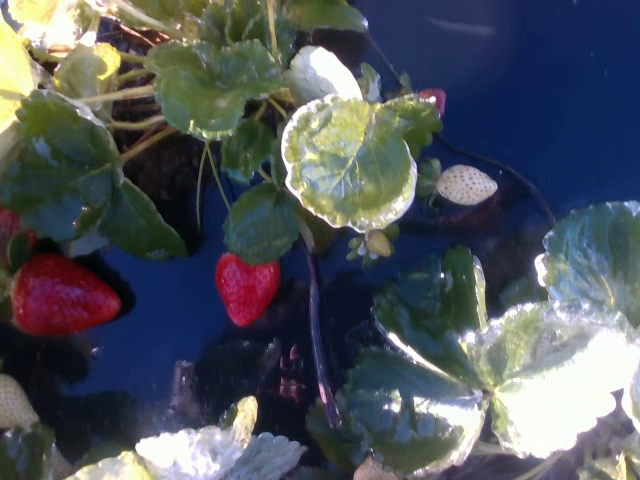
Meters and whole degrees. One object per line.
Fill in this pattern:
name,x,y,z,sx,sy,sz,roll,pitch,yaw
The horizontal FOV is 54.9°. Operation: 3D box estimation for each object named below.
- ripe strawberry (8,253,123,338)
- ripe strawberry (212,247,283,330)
ripe strawberry,-0.130,0.034,0.314,0.056,0.044,0.040,15,11,-11
ripe strawberry,-0.036,0.025,0.311,0.039,0.047,0.040,4,2,-9
